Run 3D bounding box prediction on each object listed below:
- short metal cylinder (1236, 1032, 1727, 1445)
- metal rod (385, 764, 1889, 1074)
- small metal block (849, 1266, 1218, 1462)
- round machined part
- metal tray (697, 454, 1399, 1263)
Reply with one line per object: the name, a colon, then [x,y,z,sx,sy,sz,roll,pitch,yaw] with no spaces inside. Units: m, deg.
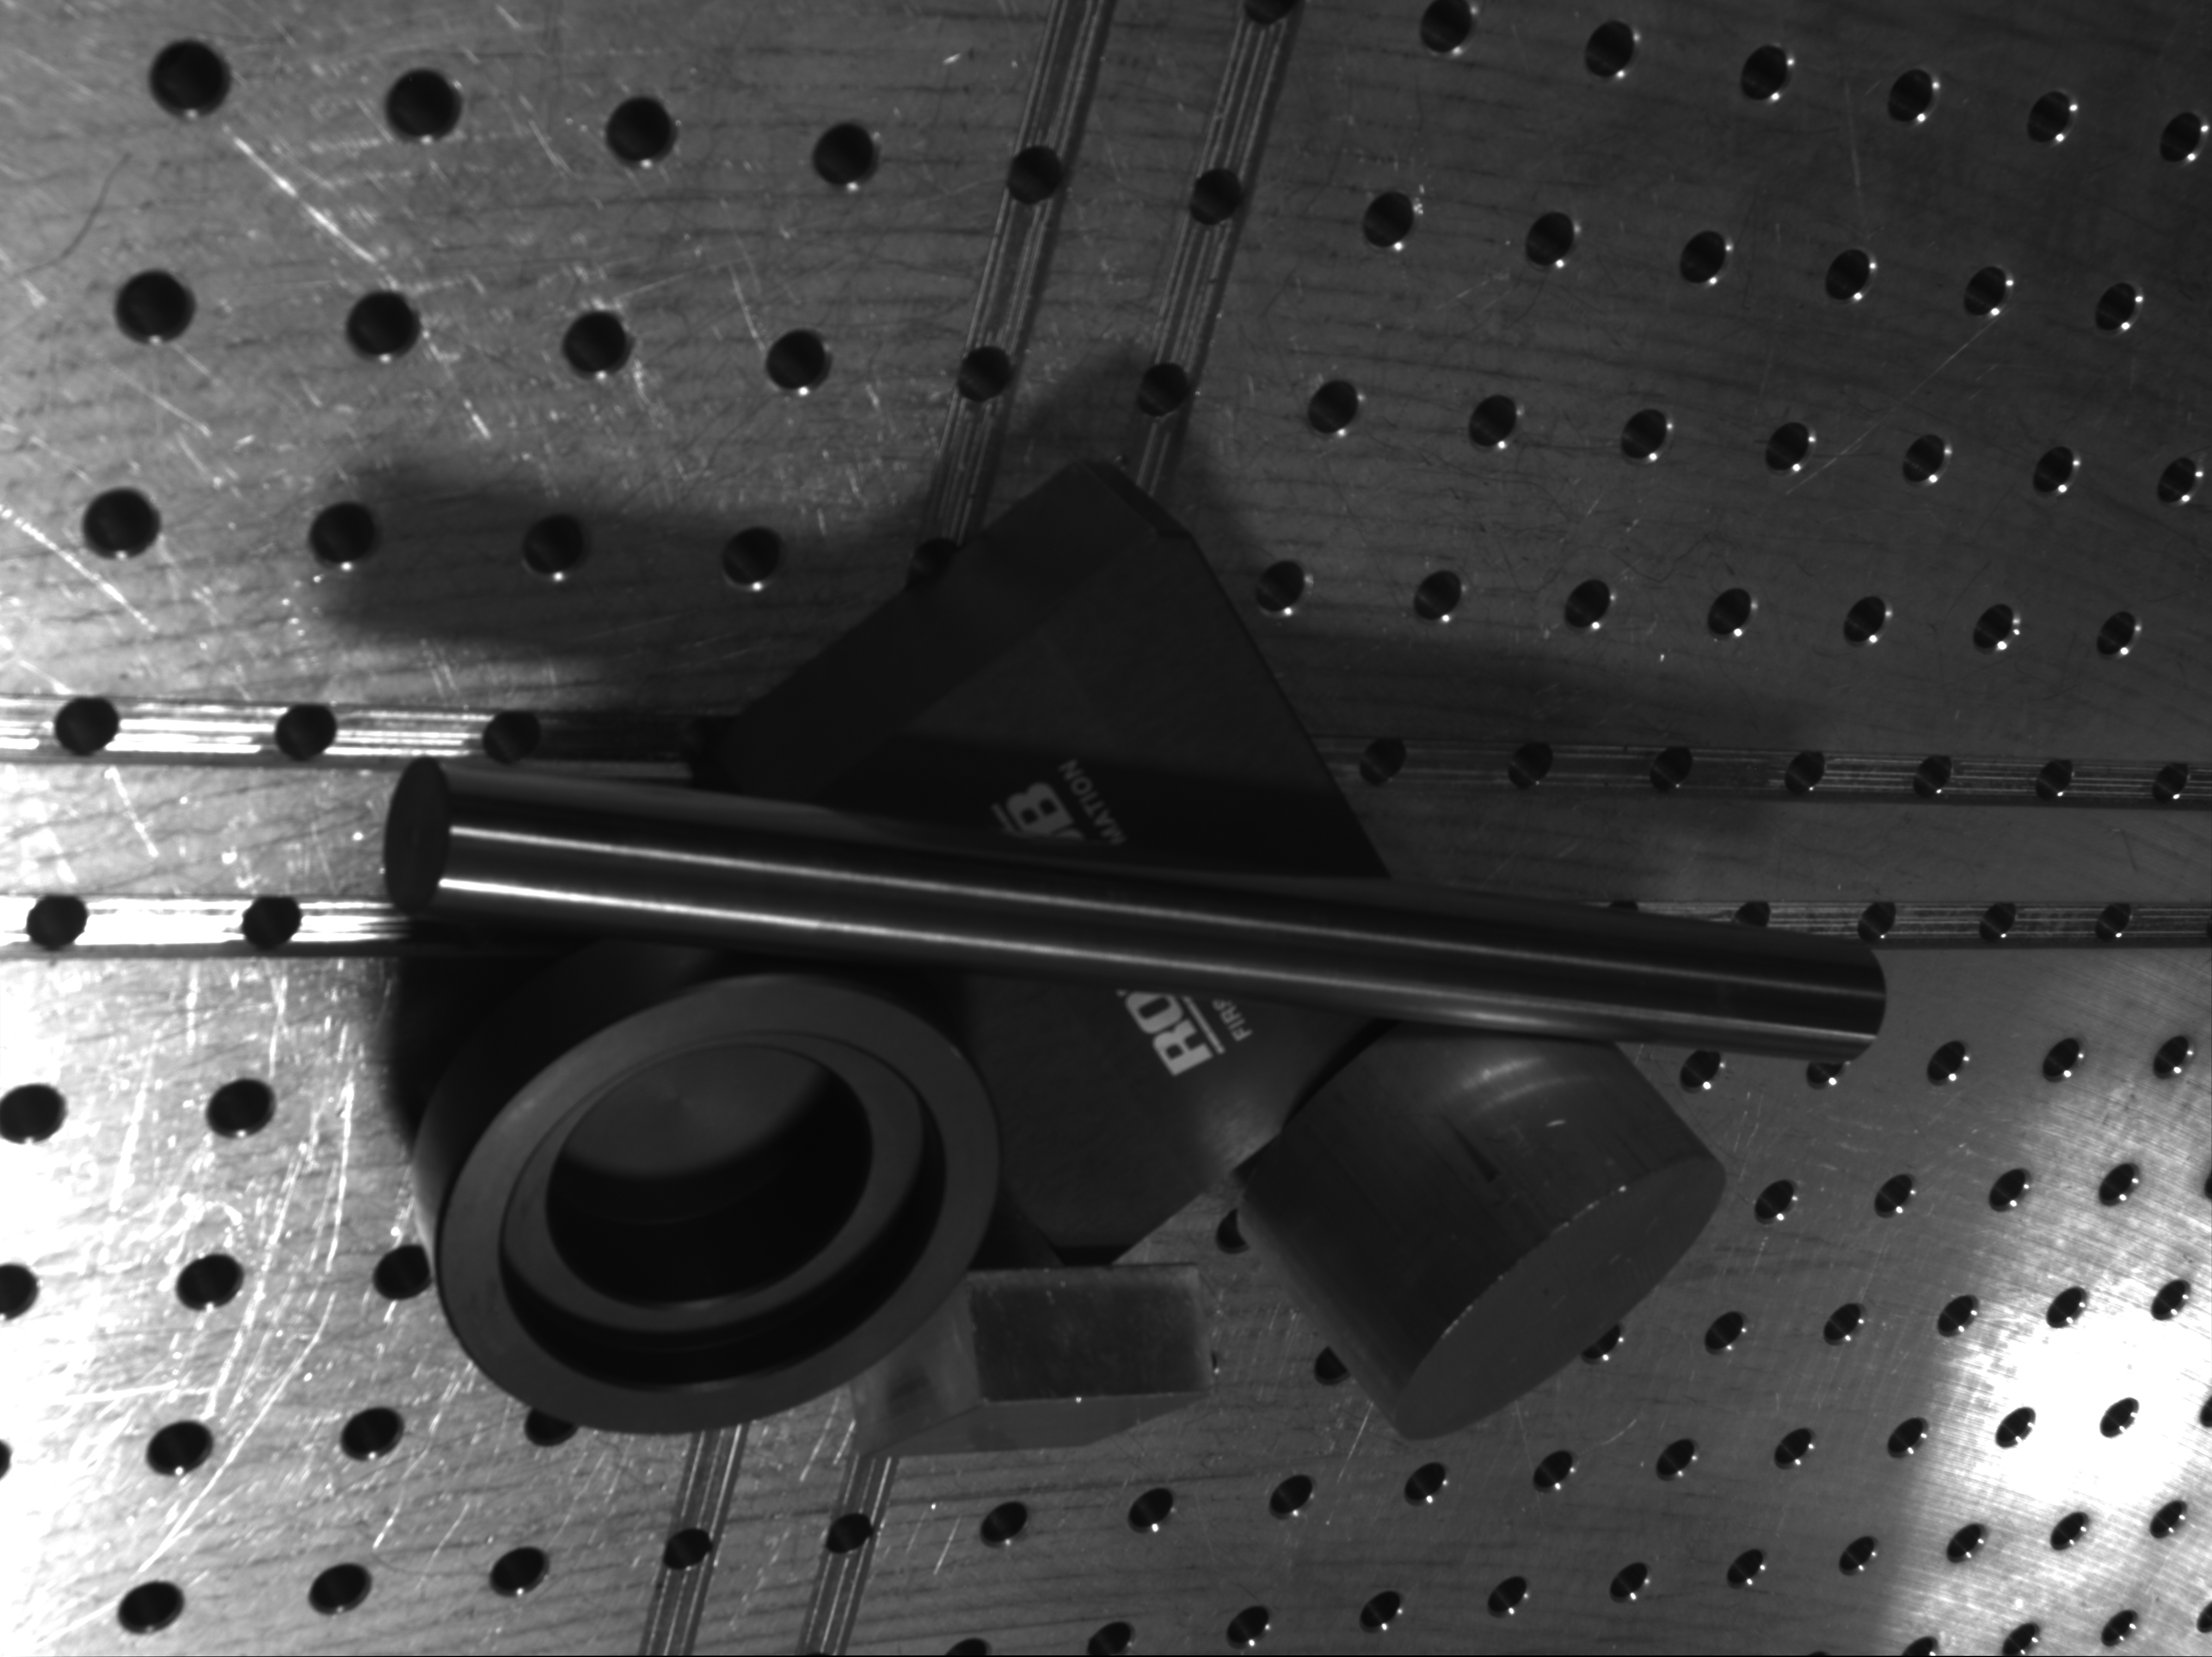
short metal cylinder: [0.072,0.073,0.705,0.080,0.050,0.080,-31,154,-17]
metal rod: [0.020,0.019,0.636,0.301,0.025,0.025,8,114,-33]
small metal block: [-0.015,0.101,0.690,0.050,0.025,0.050,3,160,-32]
round machined part: [-0.071,0.054,0.628,0.098,0.042,0.098,-12,128,-16]
metal tray: [-0.003,0.008,0.656,0.090,0.030,0.130,-37,130,-5]
